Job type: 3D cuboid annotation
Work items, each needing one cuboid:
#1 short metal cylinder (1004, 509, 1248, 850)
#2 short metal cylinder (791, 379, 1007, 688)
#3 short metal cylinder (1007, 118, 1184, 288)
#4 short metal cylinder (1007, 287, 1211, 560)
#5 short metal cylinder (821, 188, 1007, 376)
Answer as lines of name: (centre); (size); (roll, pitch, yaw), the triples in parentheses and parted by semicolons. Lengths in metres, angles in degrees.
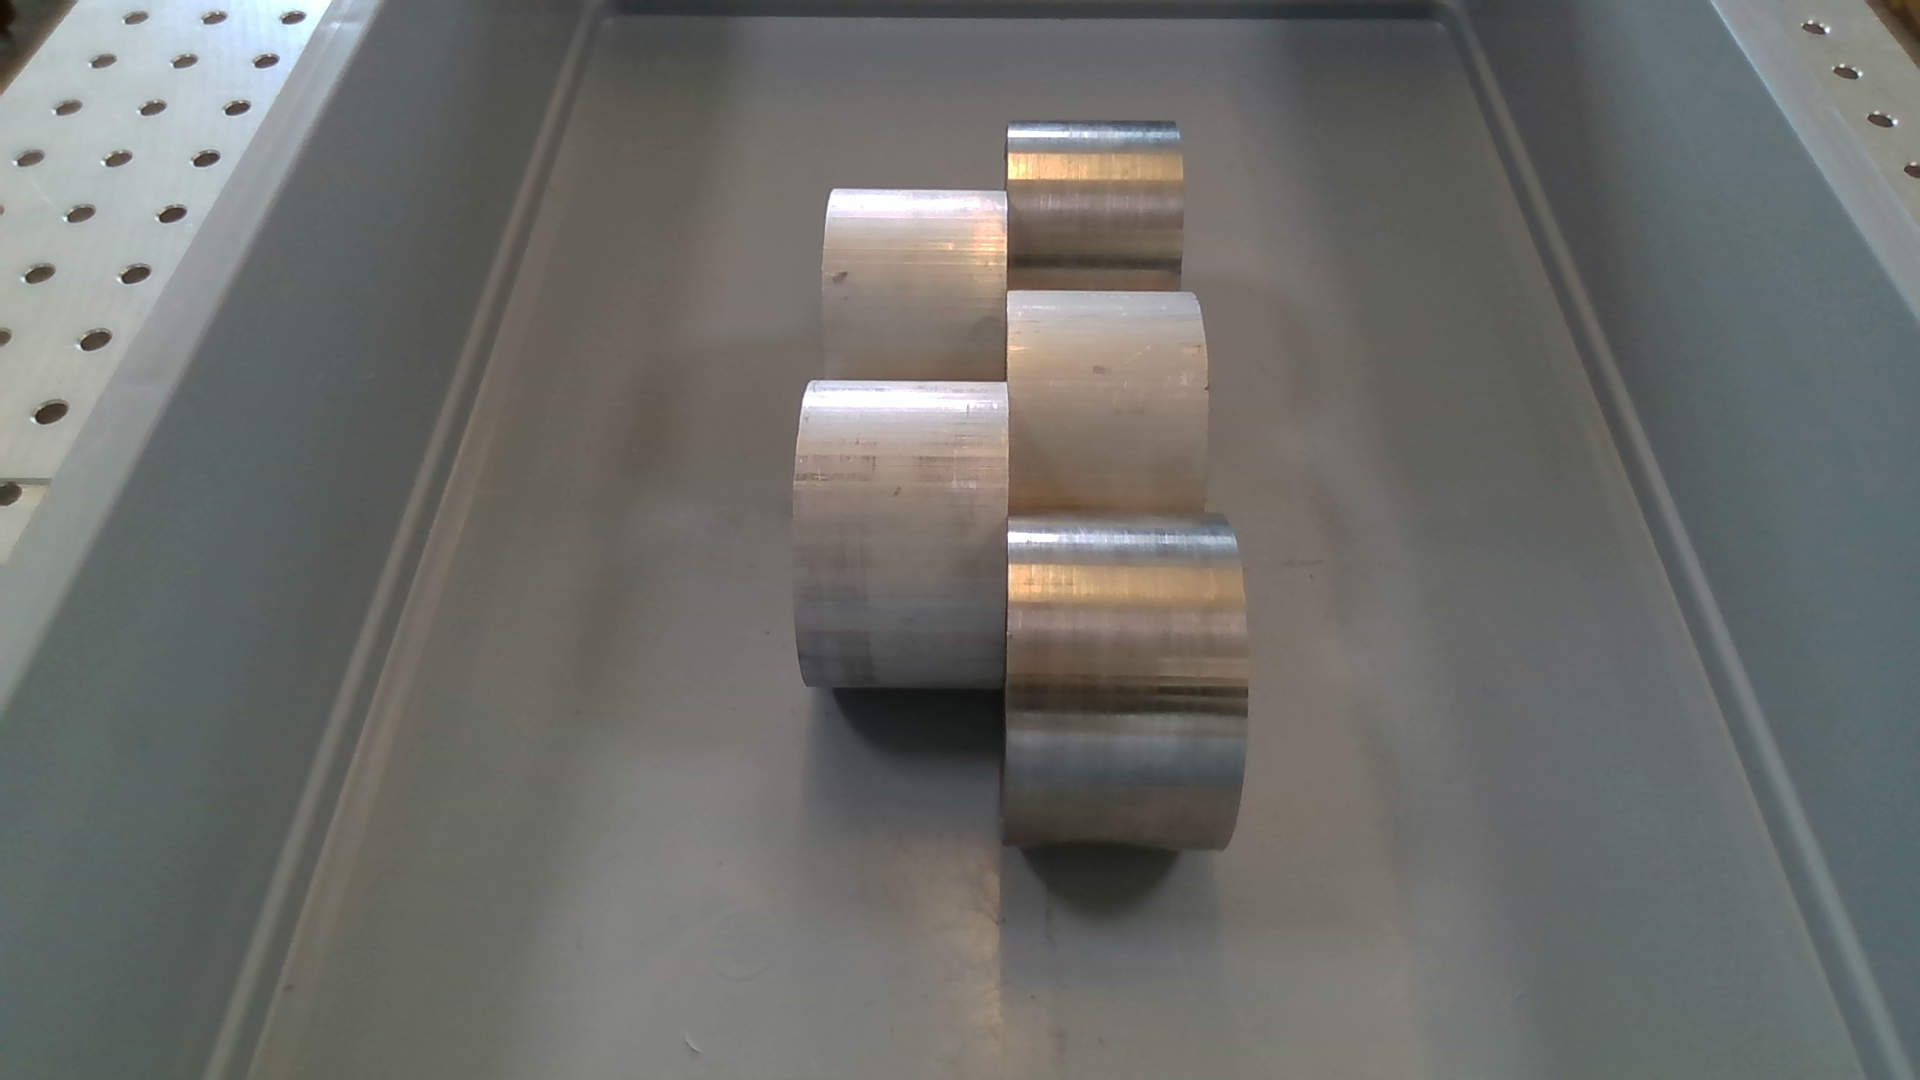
short metal cylinder: (0.036, 0.033, 0.329); (0.050, 0.080, 0.080); (1, 50, 1)
short metal cylinder: (-0.014, -0.002, 0.358); (0.050, 0.080, 0.080); (0, 50, 0)
short metal cylinder: (0.039, -0.091, 0.432); (0.050, 0.080, 0.080); (0, 50, 0)
short metal cylinder: (0.037, -0.029, 0.380); (0.050, 0.080, 0.080); (0, 50, 0)
short metal cylinder: (-0.012, -0.064, 0.410); (0.050, 0.080, 0.080); (0, 50, 0)
